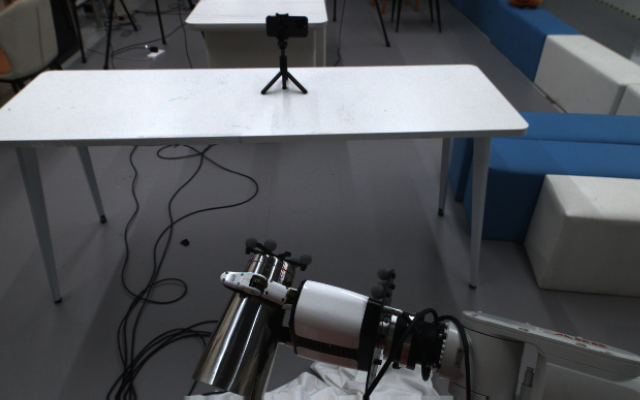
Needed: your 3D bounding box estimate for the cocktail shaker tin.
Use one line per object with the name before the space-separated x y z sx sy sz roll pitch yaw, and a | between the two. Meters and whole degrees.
cocktail shaker tin | -0.086 0.158 0.626 0.093 0.093 0.170 12 65 14
